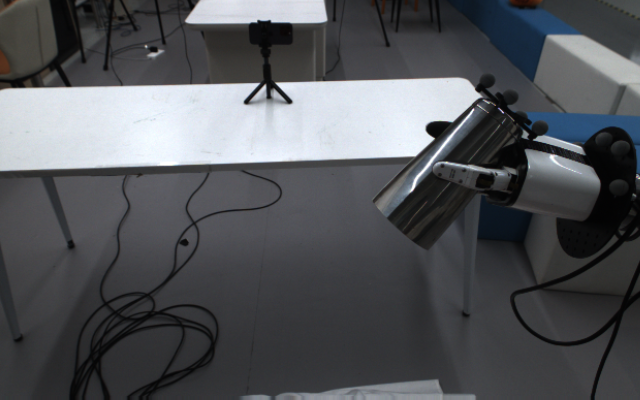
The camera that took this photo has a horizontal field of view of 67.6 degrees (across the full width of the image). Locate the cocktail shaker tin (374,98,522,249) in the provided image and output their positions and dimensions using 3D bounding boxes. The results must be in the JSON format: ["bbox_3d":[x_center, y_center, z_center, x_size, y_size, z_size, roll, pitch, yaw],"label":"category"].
[{"bbox_3d":[0.154,-0.038,0.574,0.093,0.170,0.093,41,12,-11],"label":"cocktail shaker tin"}]
